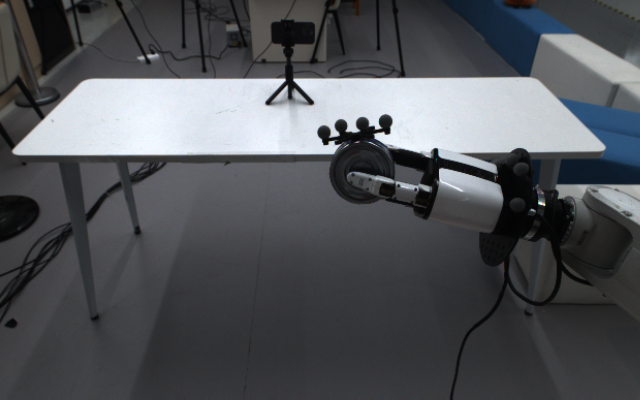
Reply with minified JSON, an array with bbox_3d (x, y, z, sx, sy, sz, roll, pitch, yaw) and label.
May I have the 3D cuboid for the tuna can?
[{"bbox_3d":[0.059,-0.033,0.632,0.085,0.085,0.034,6,18,5],"label":"tuna can"}]
